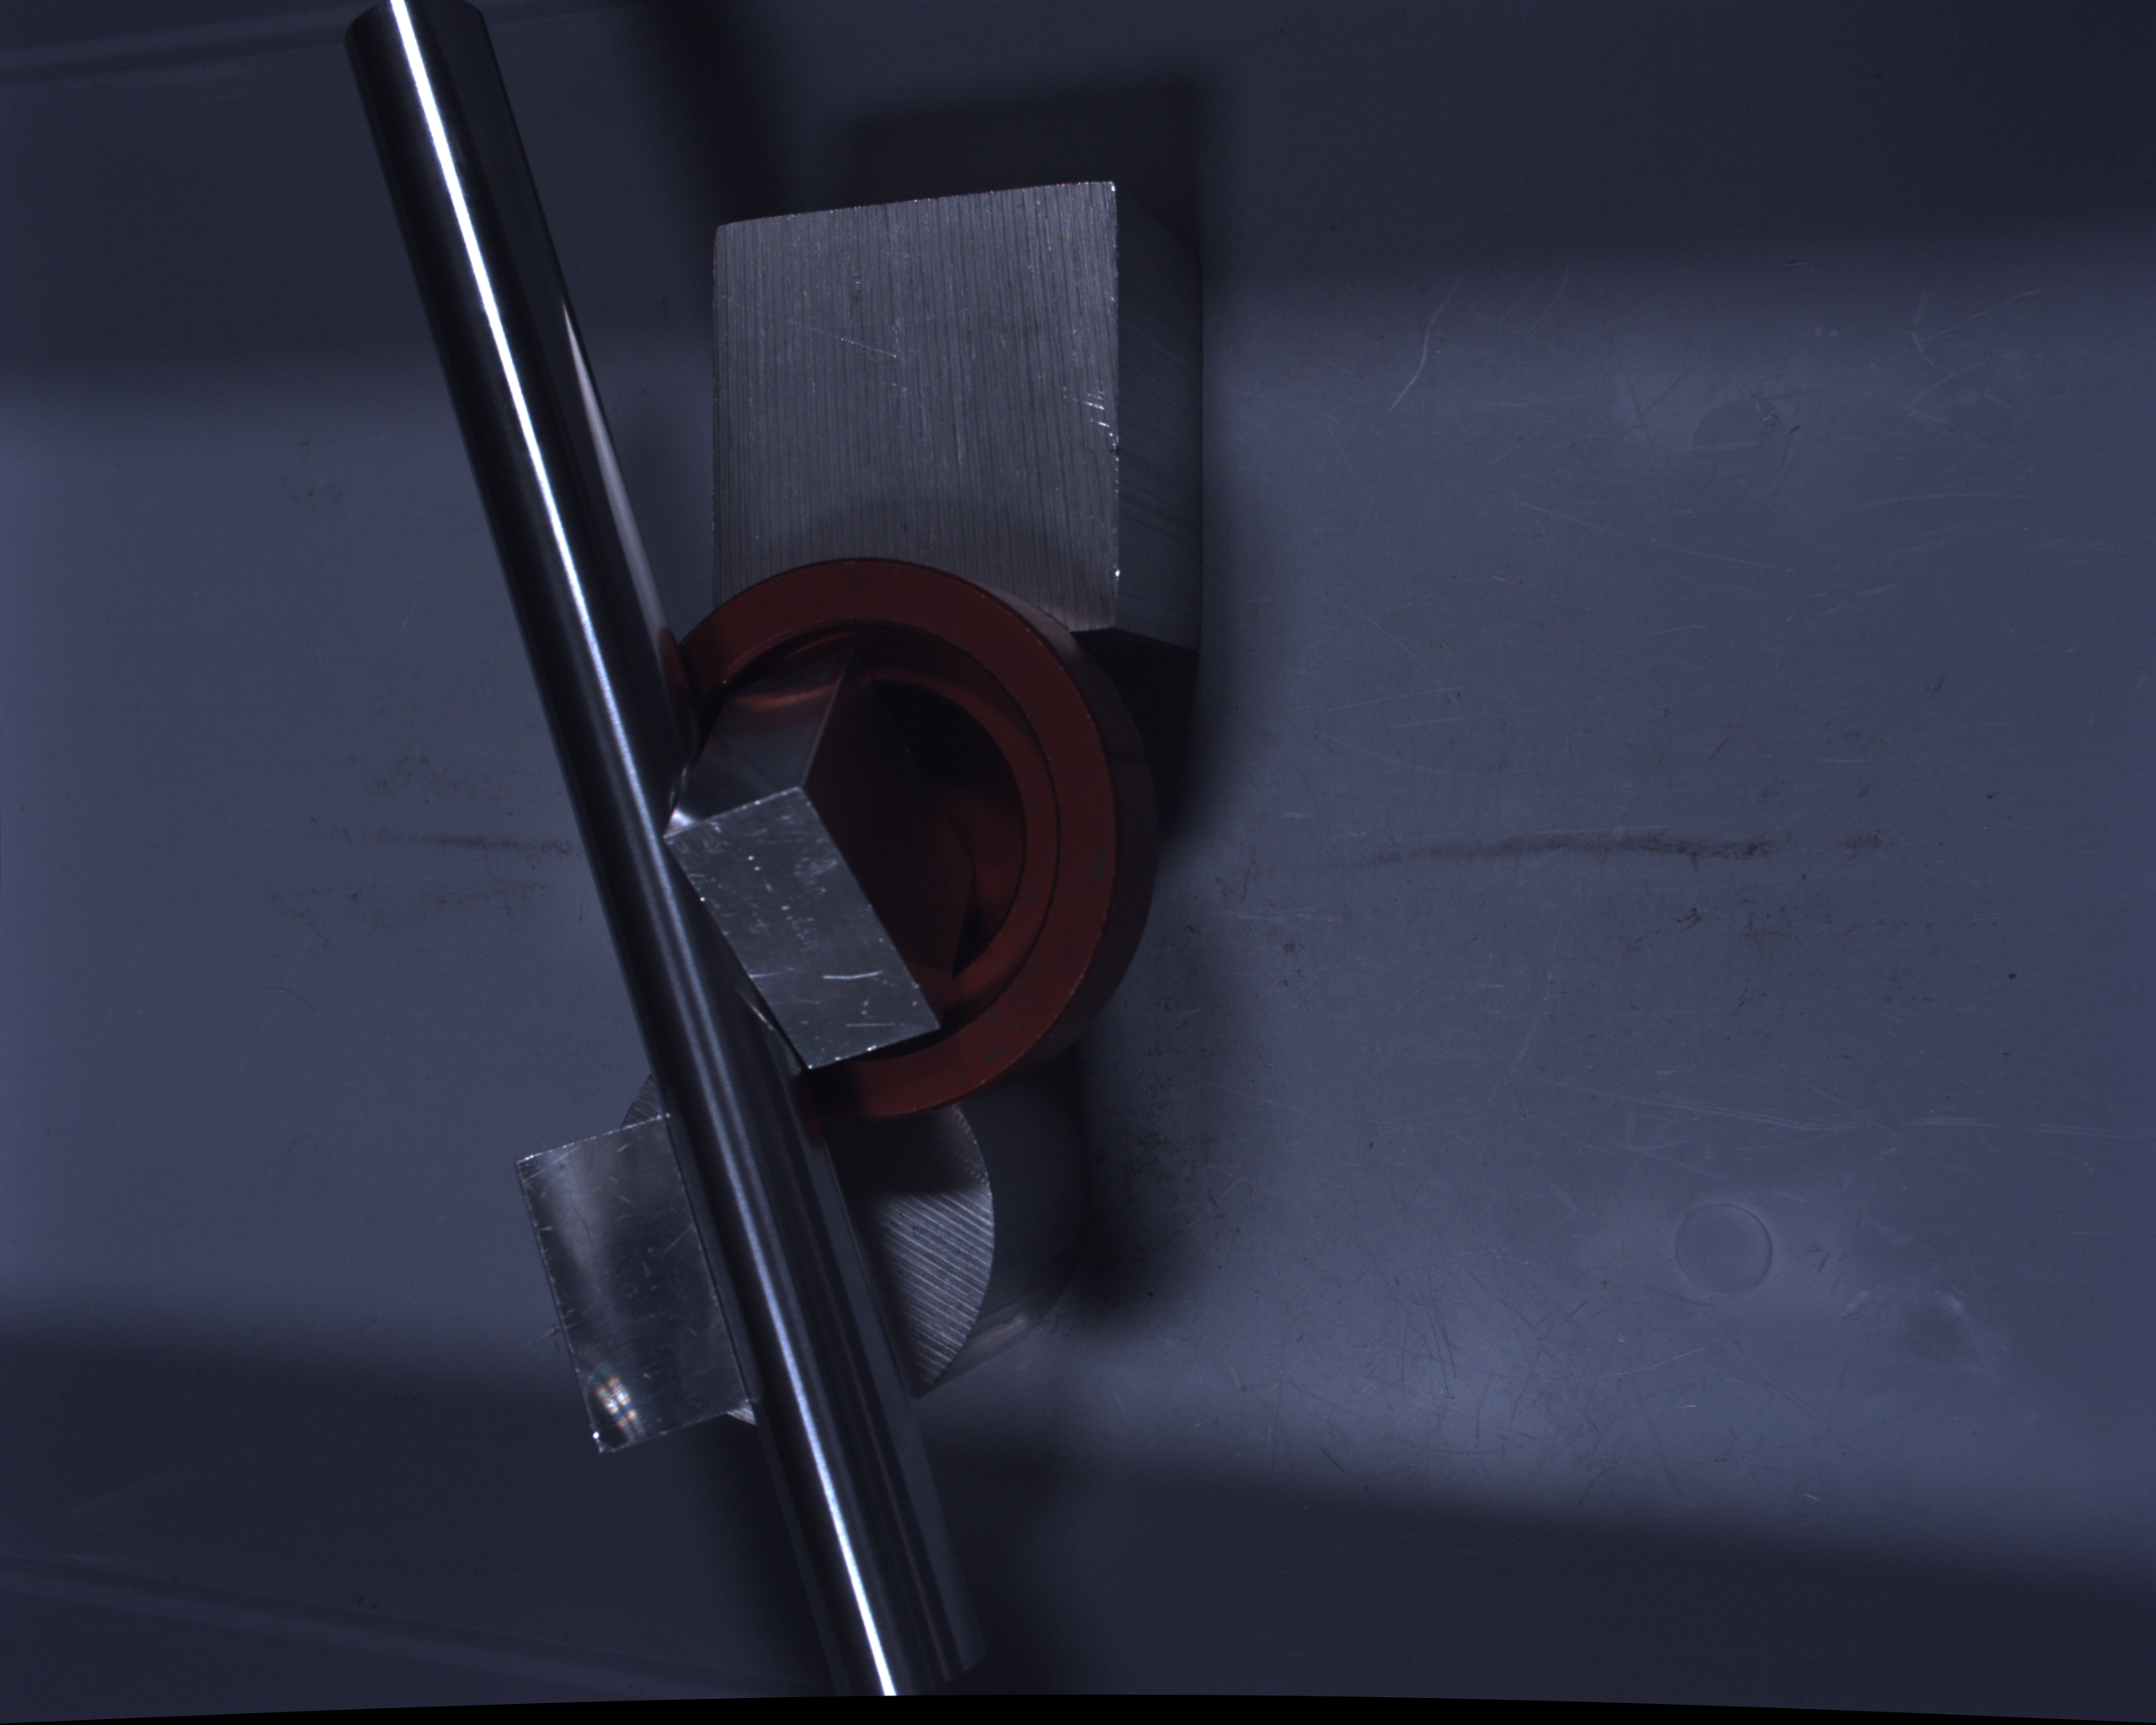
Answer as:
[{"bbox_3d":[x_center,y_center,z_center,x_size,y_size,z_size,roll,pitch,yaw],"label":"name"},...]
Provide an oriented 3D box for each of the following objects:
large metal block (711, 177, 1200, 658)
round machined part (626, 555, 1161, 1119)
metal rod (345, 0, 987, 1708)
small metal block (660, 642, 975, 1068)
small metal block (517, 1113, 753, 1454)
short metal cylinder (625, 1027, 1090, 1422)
[{"bbox_3d":[-0.022,-0.080,0.401,0.080,0.050,0.079,0,90,19],"label":"large metal block"},{"bbox_3d":[-0.032,-0.005,0.379,0.098,0.042,0.097,0,90,19],"label":"round machined part"},{"bbox_3d":[-0.073,-0.007,0.359,0.025,0.025,0.299,-20,84,18],"label":"metal rod"},{"bbox_3d":[-0.043,-0.002,0.359,0.025,0.050,0.050,-19,119,15],"label":"small metal block"},{"bbox_3d":[-0.078,0.073,0.366,0.025,0.050,0.050,-16,83,-14],"label":"small metal block"},{"bbox_3d":[-0.044,0.066,0.411,0.080,0.050,0.079,0,90,19],"label":"short metal cylinder"}]
